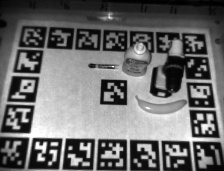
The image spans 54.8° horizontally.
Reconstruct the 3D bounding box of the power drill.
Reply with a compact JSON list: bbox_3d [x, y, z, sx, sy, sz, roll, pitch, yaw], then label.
[{"bbox_3d":[0.184,-0.038,0.763,0.057,0.187,0.184,15,70,2],"label":"power drill"}]

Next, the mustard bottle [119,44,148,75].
[{"bbox_3d":[0.080,-0.097,0.794,0.096,0.192,0.058,12,72,2],"label":"mustard bottle"}]

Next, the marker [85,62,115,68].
[{"bbox_3d":[-0.048,-0.083,0.874,0.121,0.020,0.019,4,73,-2],"label":"marker"}]

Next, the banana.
[{"bbox_3d":[0.169,0.075,0.827,0.197,0.039,0.074,9,74,2],"label":"banana"}]
